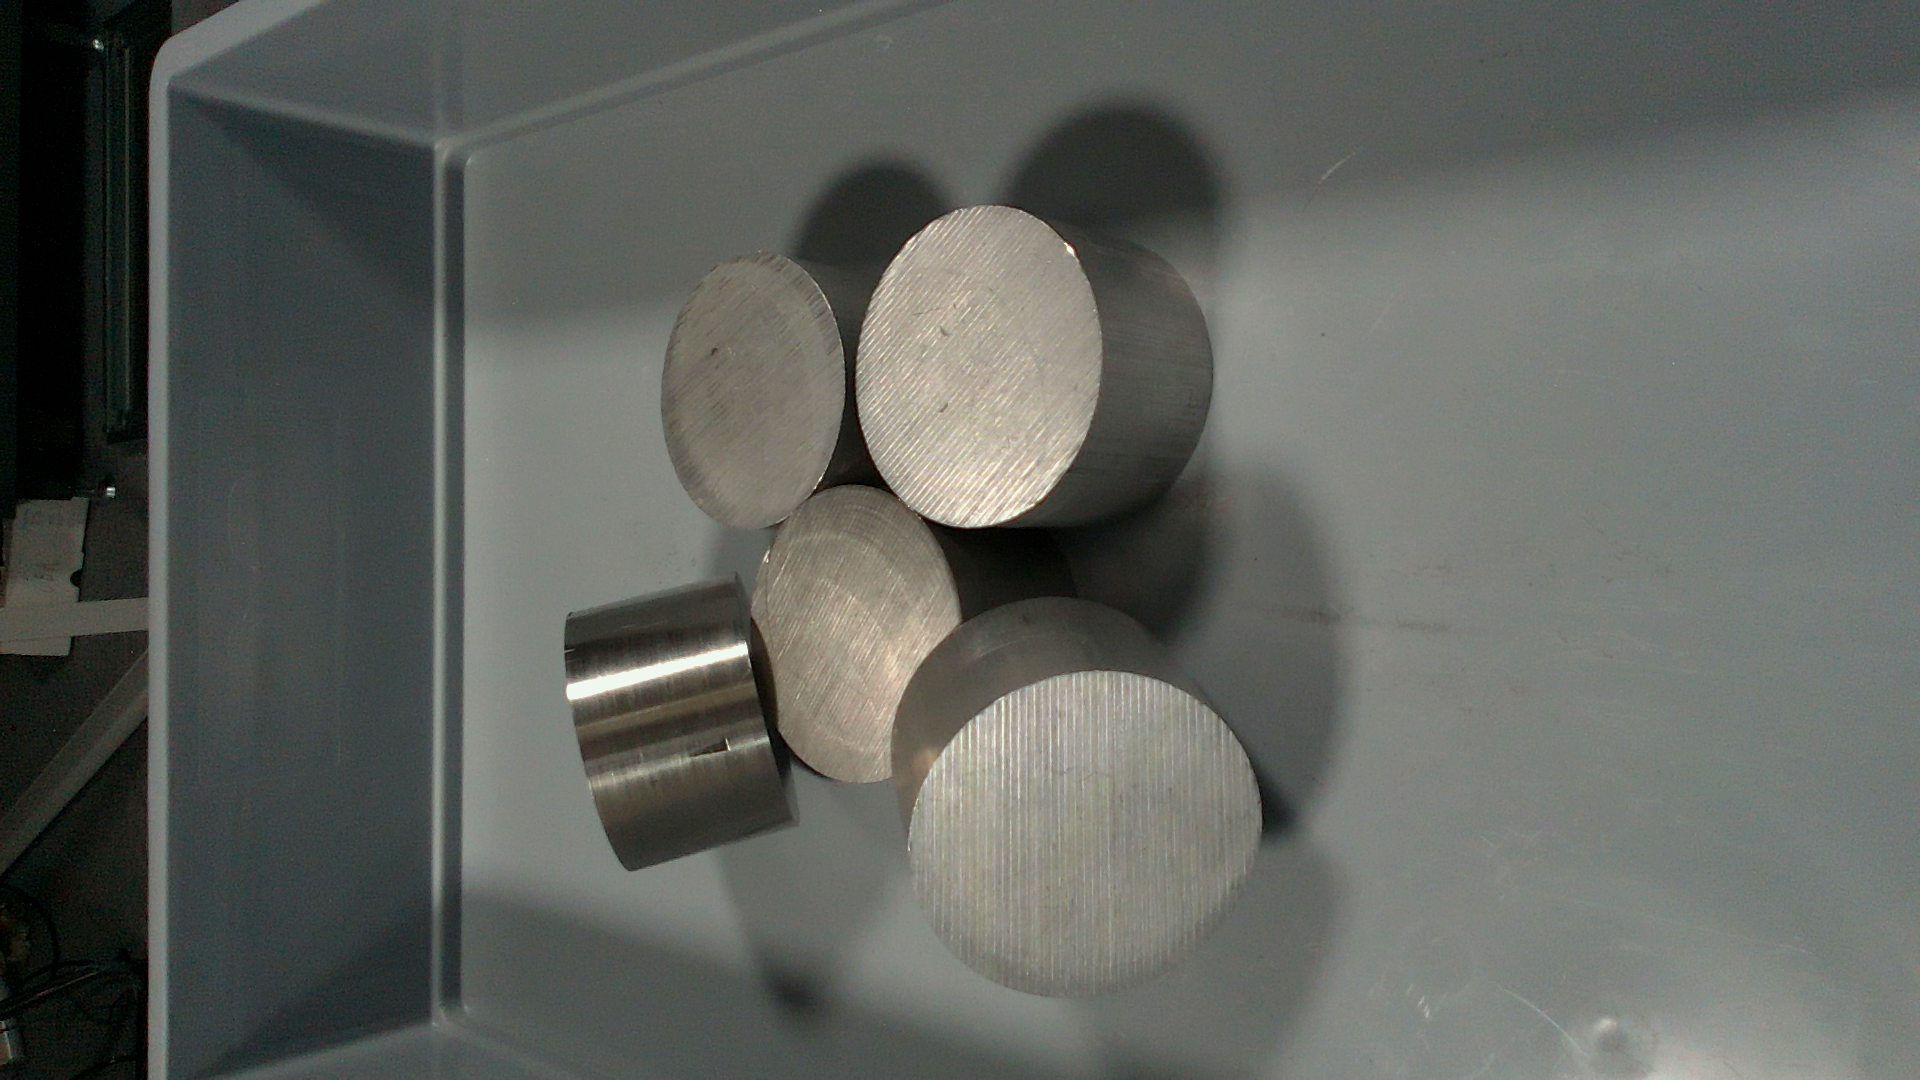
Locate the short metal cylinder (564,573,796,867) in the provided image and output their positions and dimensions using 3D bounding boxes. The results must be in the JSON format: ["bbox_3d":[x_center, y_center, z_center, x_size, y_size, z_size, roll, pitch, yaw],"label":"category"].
[{"bbox_3d":[-0.084,0.054,0.421,0.050,0.080,0.080,-14,77,-5],"label":"short metal cylinder"}]

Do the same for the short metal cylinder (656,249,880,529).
[{"bbox_3d":[-0.046,-0.043,0.415,0.080,0.050,0.080,0,90,40],"label":"short metal cylinder"}]

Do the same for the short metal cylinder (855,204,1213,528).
[{"bbox_3d":[0.019,-0.043,0.362,0.080,0.050,0.080,0,90,40],"label":"short metal cylinder"}]

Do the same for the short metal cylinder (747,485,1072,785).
[{"bbox_3d":[-0.014,0.025,0.387,0.080,0.050,0.080,0,90,40],"label":"short metal cylinder"}]

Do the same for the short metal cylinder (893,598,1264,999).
[{"bbox_3d":[0.025,0.060,0.328,0.050,0.080,0.080,-118,43,-72],"label":"short metal cylinder"}]
